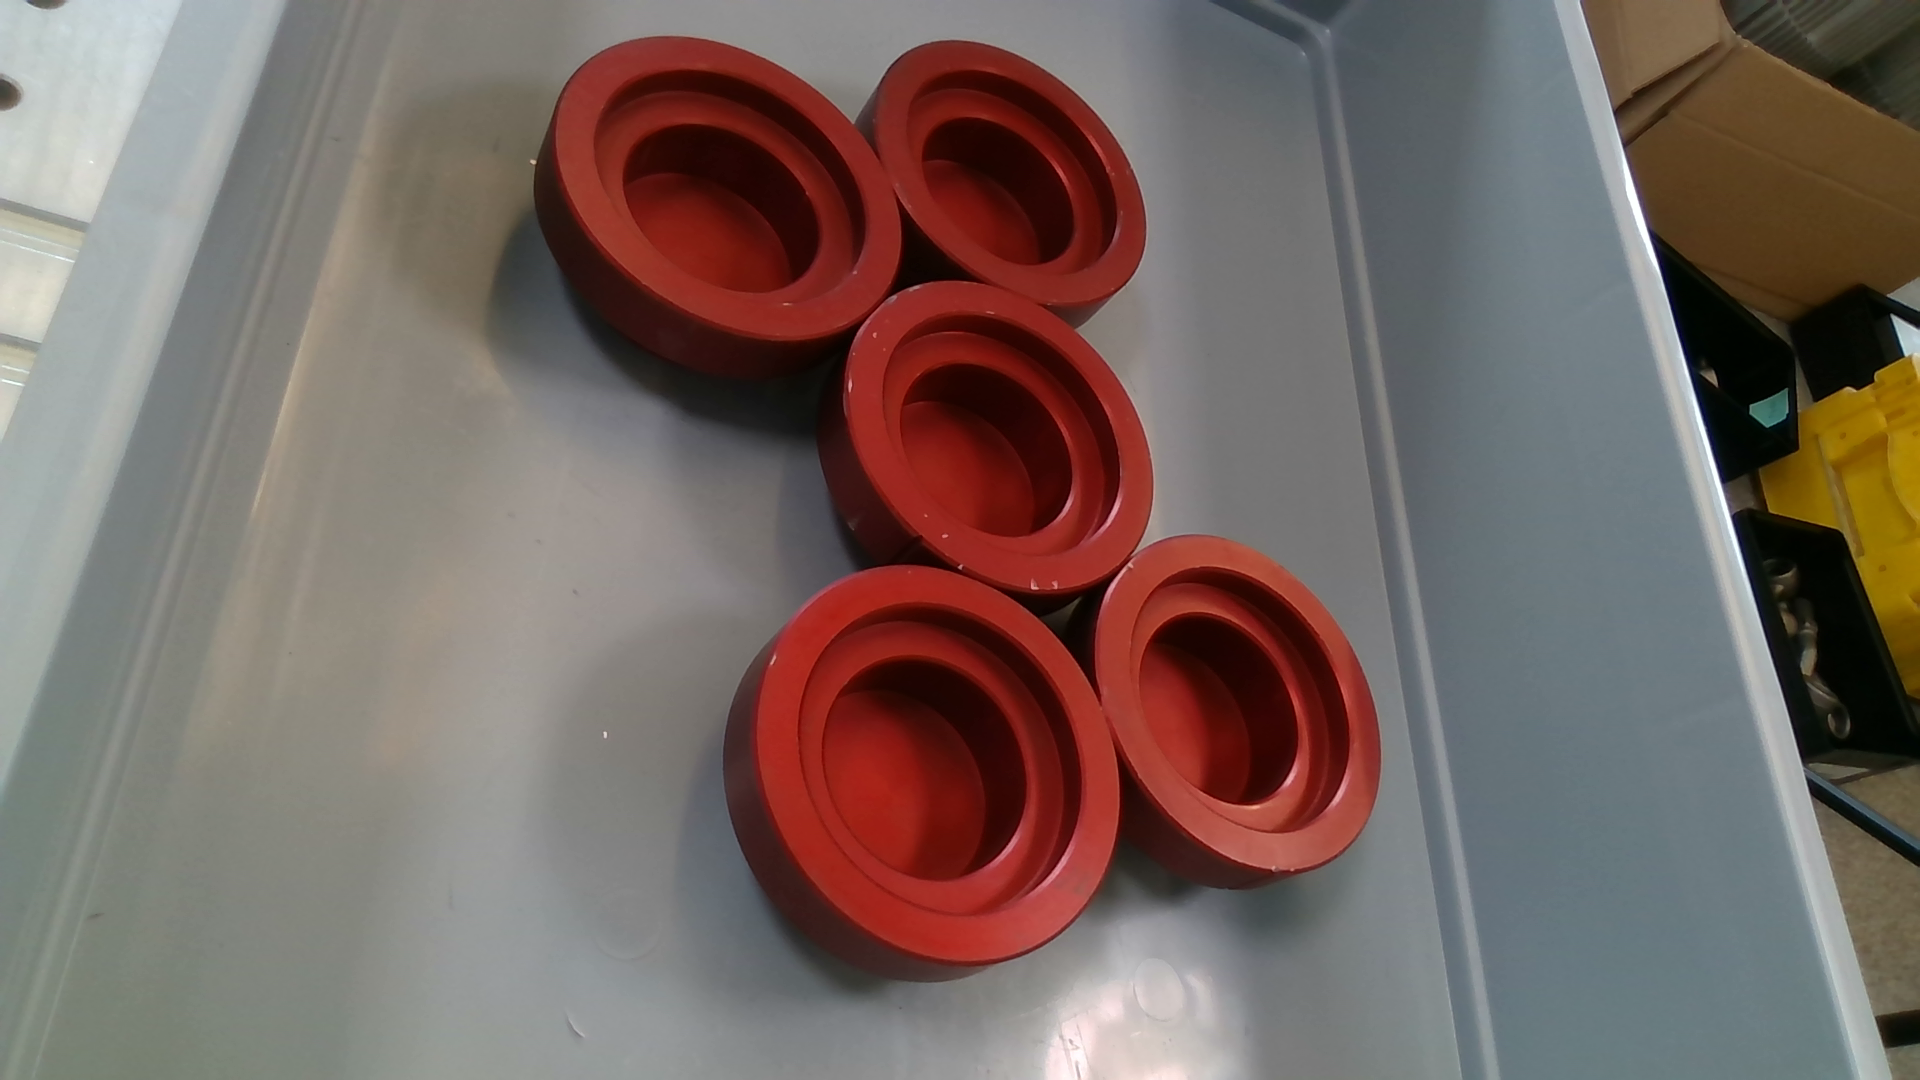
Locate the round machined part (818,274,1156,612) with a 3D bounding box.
[{"bbox_3d":[0.004,-0.023,0.394,0.098,0.042,0.098,14,59,-25],"label":"round machined part"}]

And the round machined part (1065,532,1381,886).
[{"bbox_3d":[0.069,0.051,0.395,0.098,0.042,0.098,14,59,-25],"label":"round machined part"}]

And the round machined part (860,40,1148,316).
[{"bbox_3d":[0.008,-0.107,0.443,0.098,0.042,0.098,14,59,-25],"label":"round machined part"}]

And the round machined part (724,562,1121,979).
[{"bbox_3d":[-0.012,0.058,0.341,0.098,0.042,0.098,14,59,-25],"label":"round machined part"}]

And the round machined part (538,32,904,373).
[{"bbox_3d":[-0.068,-0.088,0.384,0.098,0.042,0.098,14,59,-25],"label":"round machined part"}]
